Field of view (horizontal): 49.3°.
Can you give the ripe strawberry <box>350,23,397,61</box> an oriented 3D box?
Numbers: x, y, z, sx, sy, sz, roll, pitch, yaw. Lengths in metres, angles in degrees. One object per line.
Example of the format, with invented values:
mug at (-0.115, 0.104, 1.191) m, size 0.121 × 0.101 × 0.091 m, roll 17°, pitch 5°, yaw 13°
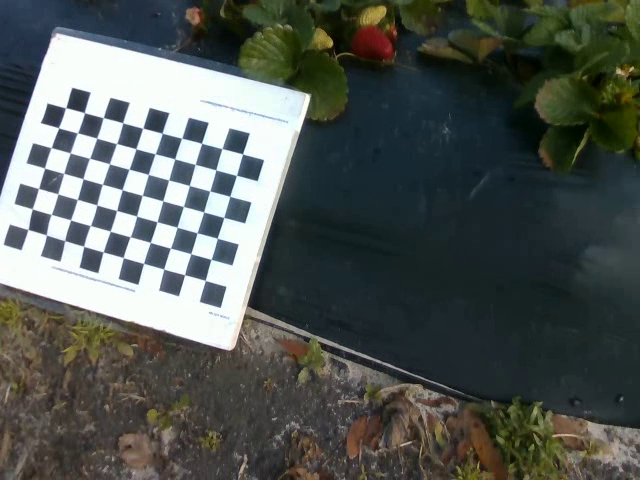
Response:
ripe strawberry at (0.052, -0.213, 0.707) m, size 0.050 × 0.064 × 0.043 m, roll -42°, pitch -10°, yaw 2°
